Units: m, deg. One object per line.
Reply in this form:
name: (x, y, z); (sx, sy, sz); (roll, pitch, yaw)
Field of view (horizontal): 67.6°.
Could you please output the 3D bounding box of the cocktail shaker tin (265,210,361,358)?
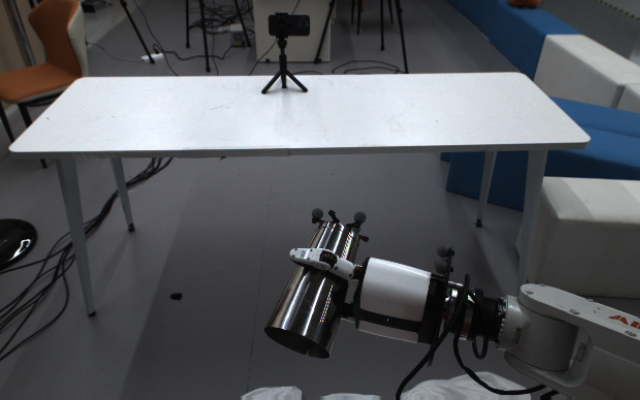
cocktail shaker tin: (-0.001, 0.117, 0.665); (0.093, 0.093, 0.170); (13, 59, 15)
